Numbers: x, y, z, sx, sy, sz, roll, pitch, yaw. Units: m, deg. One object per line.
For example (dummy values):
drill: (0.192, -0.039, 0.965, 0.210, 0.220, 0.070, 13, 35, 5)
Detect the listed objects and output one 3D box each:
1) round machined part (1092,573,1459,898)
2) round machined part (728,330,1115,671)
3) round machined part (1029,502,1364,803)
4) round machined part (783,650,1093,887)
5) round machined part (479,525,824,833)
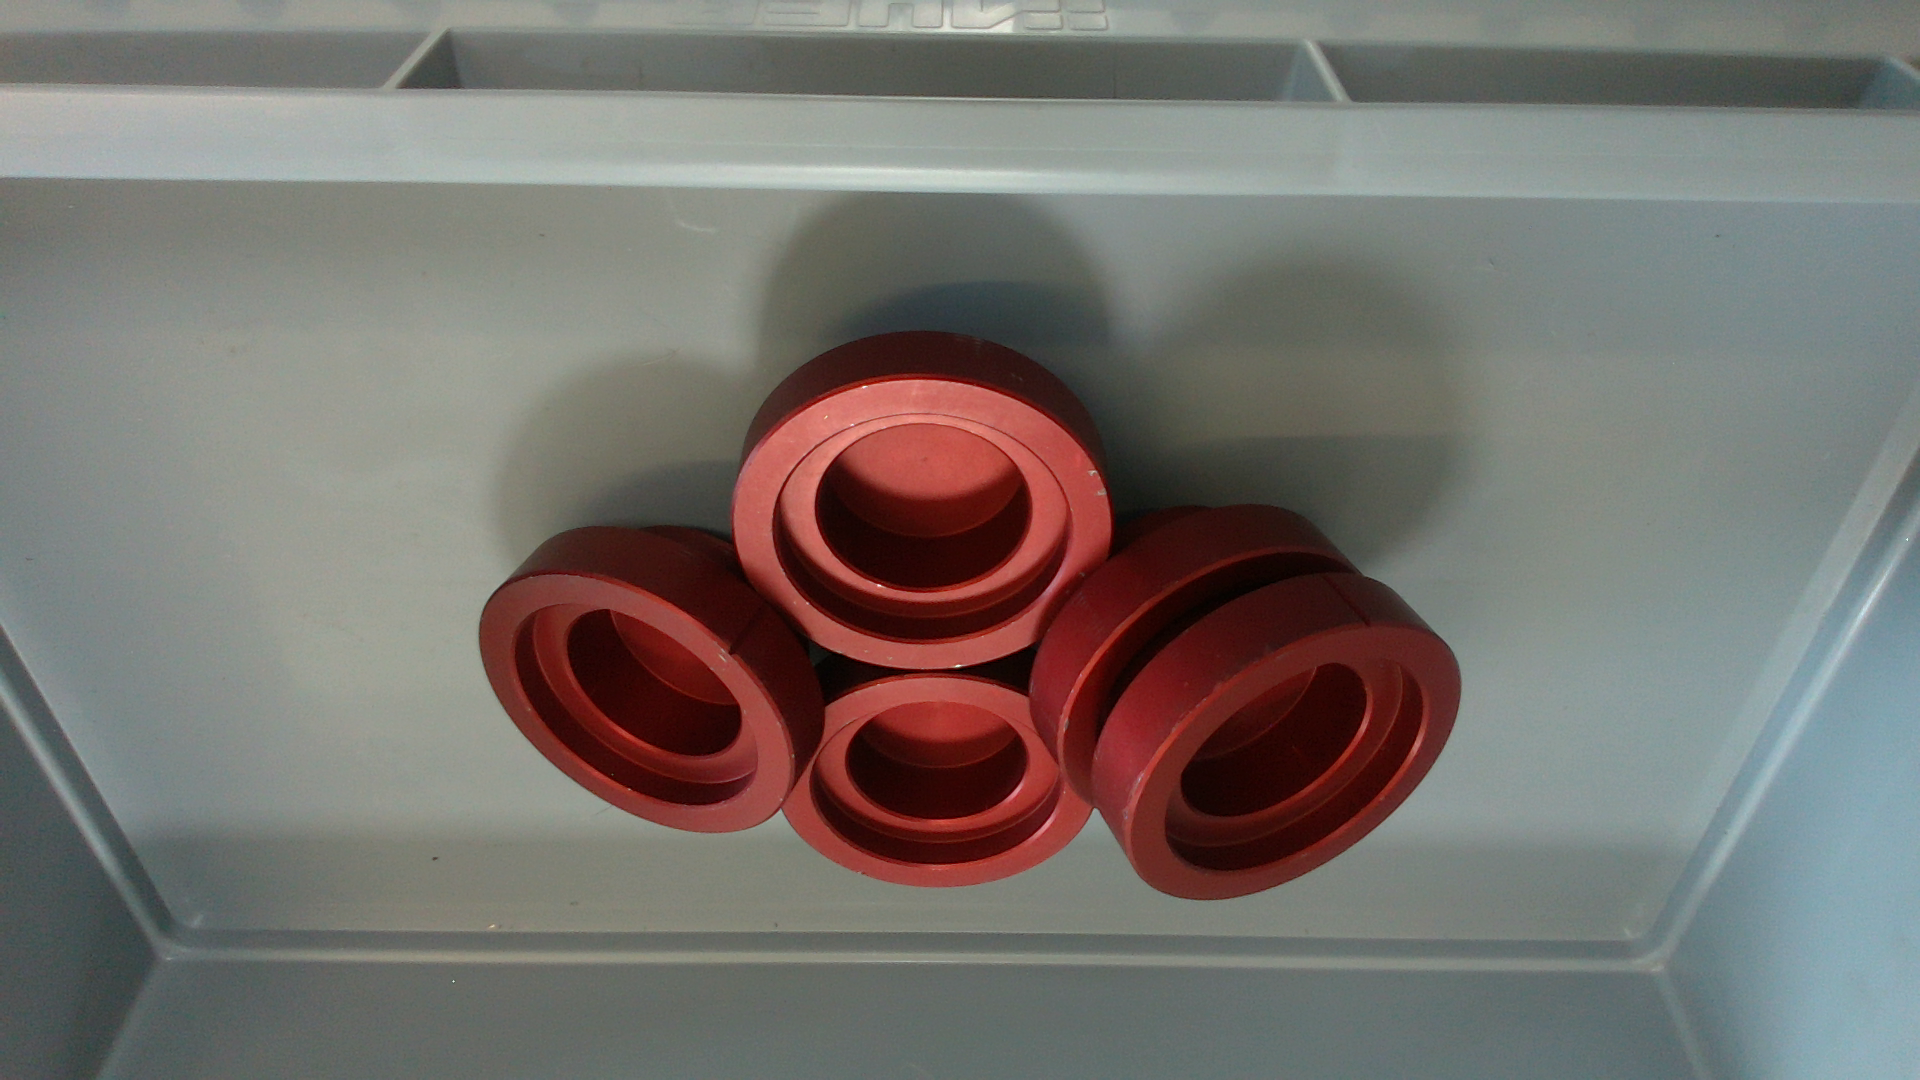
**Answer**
round machined part: (0.079, 0.047, 0.367, 0.098, 0.042, 0.098, -15, 132, -17)
round machined part: (-0.010, -0.014, 0.365, 0.098, 0.042, 0.098, 0, 130, 0)
round machined part: (0.064, 0.029, 0.389, 0.098, 0.042, 0.098, -15, 132, -17)
round machined part: (-0.007, 0.062, 0.429, 0.098, 0.042, 0.098, 0, 130, 0)
round machined part: (-0.083, 0.035, 0.393, 0.098, 0.042, 0.098, 13, 132, 16)
